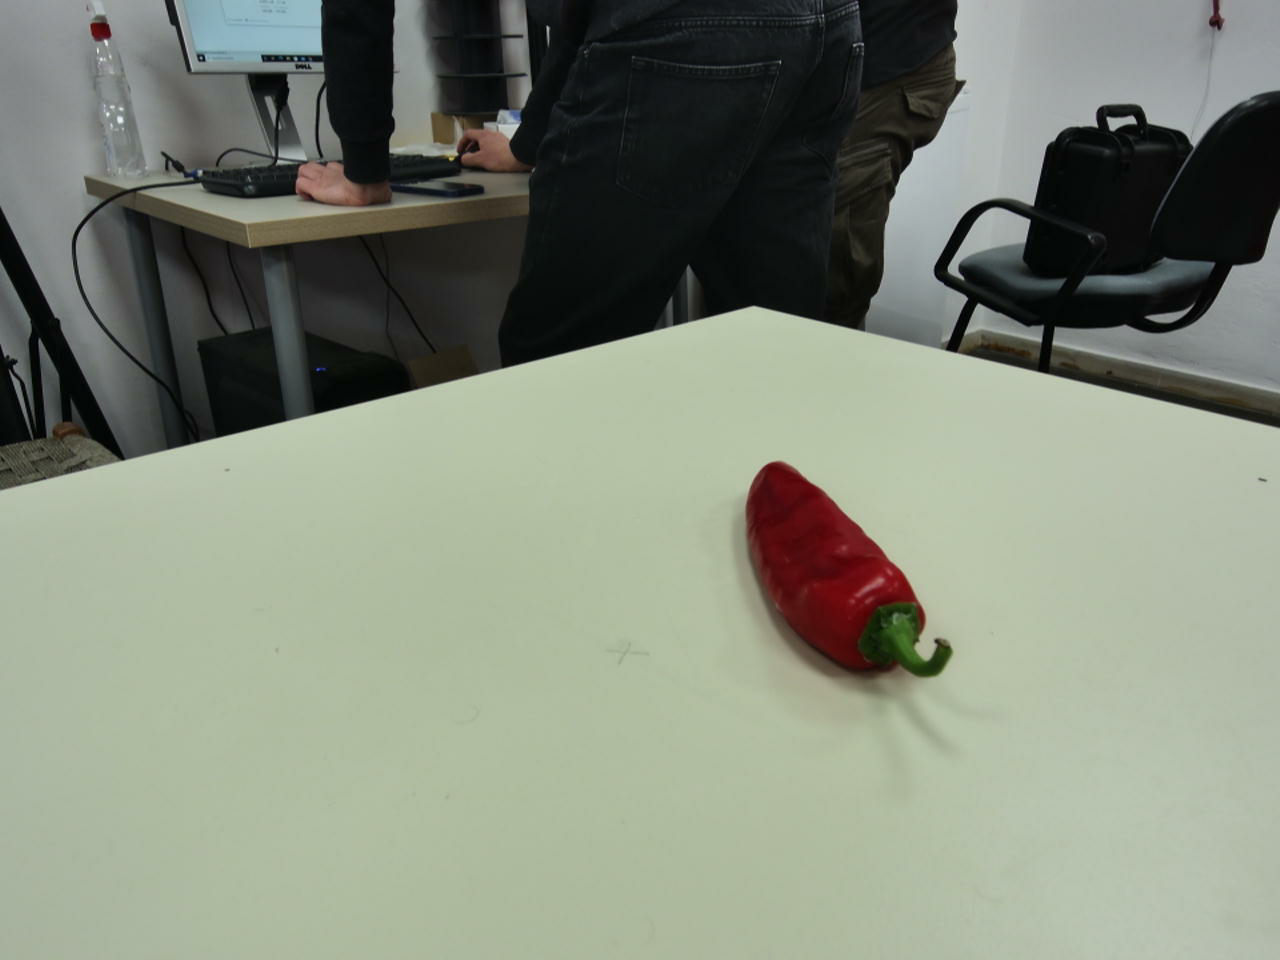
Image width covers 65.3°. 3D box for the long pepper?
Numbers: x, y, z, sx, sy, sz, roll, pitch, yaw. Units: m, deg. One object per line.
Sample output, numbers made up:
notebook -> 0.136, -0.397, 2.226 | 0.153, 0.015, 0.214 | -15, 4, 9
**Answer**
long pepper -> 0.079, 0.032, 0.437 | 0.050, 0.043, 0.211 | -3, 22, -7
